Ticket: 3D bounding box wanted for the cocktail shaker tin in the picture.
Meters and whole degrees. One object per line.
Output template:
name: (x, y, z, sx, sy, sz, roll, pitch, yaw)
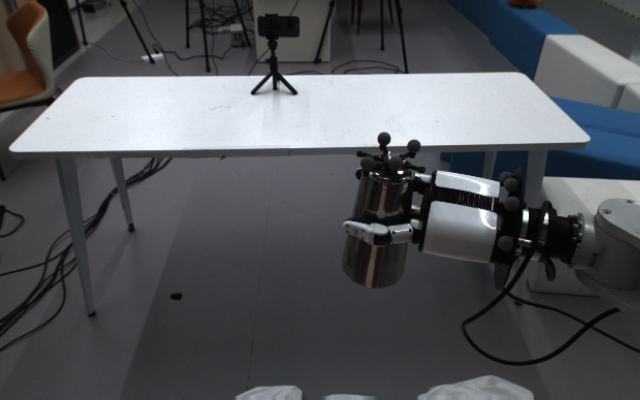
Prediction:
cocktail shaker tin: (0.085, 0.026, 0.661, 0.093, 0.170, 0.093, 3, 36, -2)
